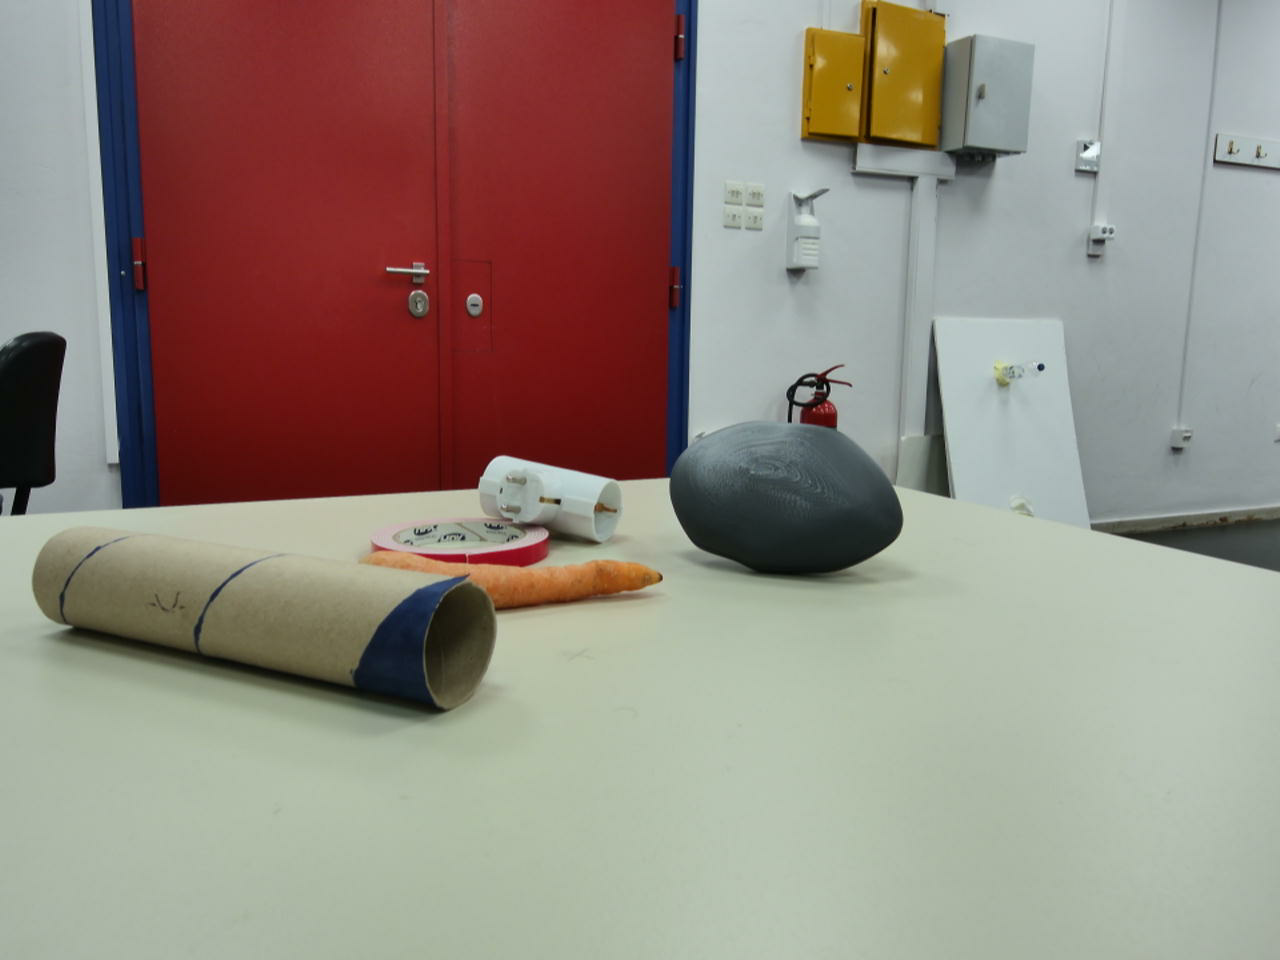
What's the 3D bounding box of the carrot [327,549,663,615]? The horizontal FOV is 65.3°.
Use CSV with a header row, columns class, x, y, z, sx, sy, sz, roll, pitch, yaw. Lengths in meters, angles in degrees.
class,x,y,z,sx,sy,sz,roll,pitch,yaw
carrot,-0.069,0.049,0.509,0.173,0.032,0.030,-2,7,-16
